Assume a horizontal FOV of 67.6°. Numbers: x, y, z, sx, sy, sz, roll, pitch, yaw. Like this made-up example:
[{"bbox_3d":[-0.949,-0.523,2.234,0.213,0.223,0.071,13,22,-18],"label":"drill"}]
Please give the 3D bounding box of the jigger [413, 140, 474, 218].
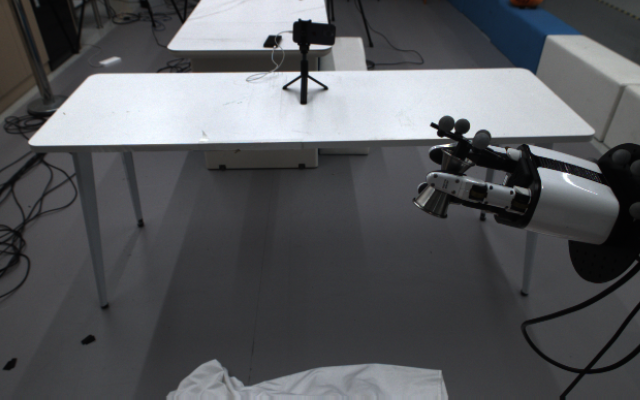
[{"bbox_3d":[0.137,-0.020,0.544,0.043,0.071,0.043,23,19,-8],"label":"jigger"}]
